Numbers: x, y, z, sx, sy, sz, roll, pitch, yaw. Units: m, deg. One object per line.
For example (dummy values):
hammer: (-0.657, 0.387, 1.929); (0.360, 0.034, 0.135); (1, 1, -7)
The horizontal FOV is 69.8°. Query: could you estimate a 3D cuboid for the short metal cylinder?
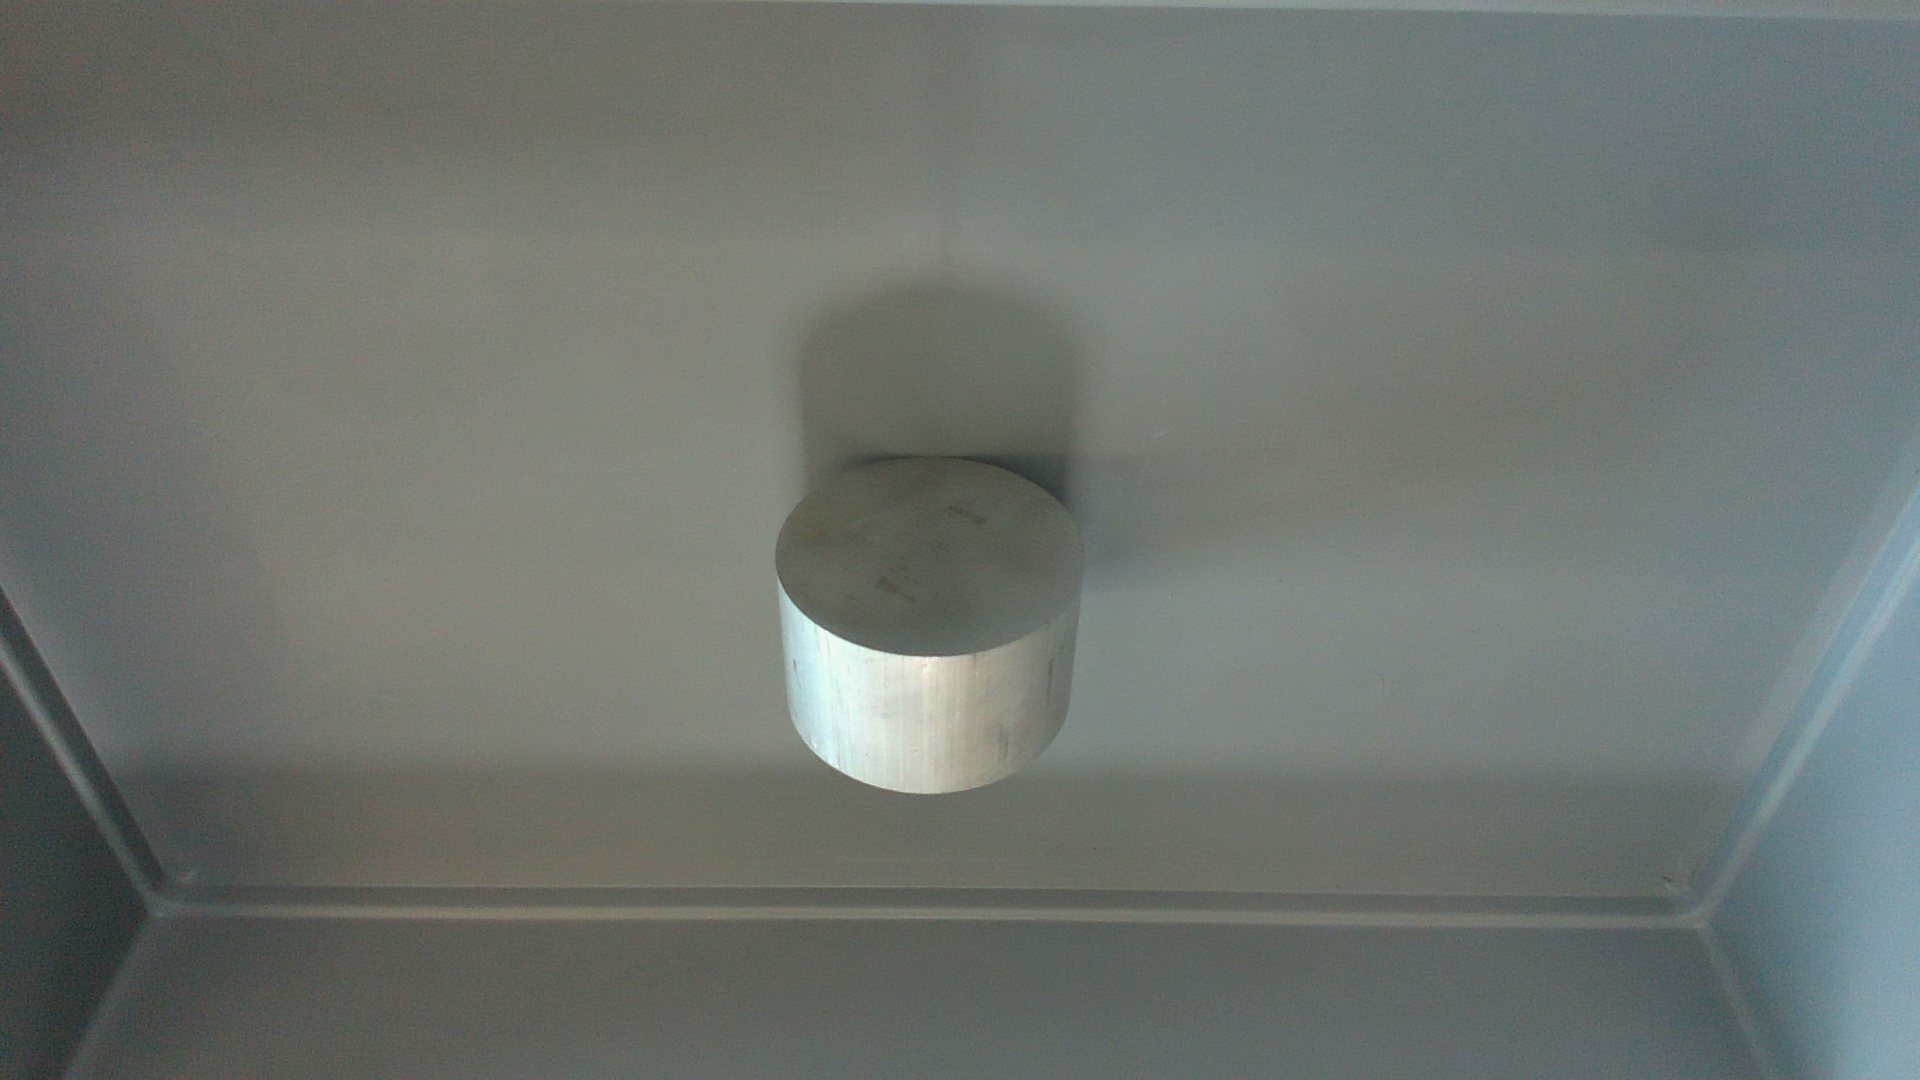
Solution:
short metal cylinder: (-0.009, 0.022, 0.369); (0.080, 0.080, 0.050); (1, 130, -1)
